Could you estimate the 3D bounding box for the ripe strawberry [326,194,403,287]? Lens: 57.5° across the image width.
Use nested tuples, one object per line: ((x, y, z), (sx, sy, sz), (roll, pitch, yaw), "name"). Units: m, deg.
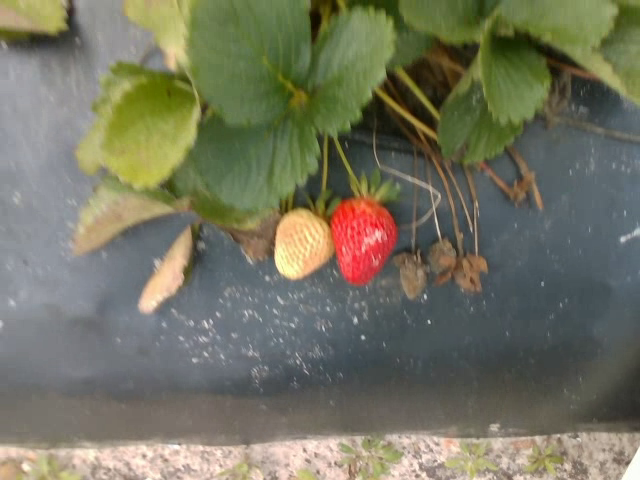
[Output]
((0.018, 0.001, 0.257), (0.034, 0.042, 0.033), (24, -23, -15), "ripe strawberry")
